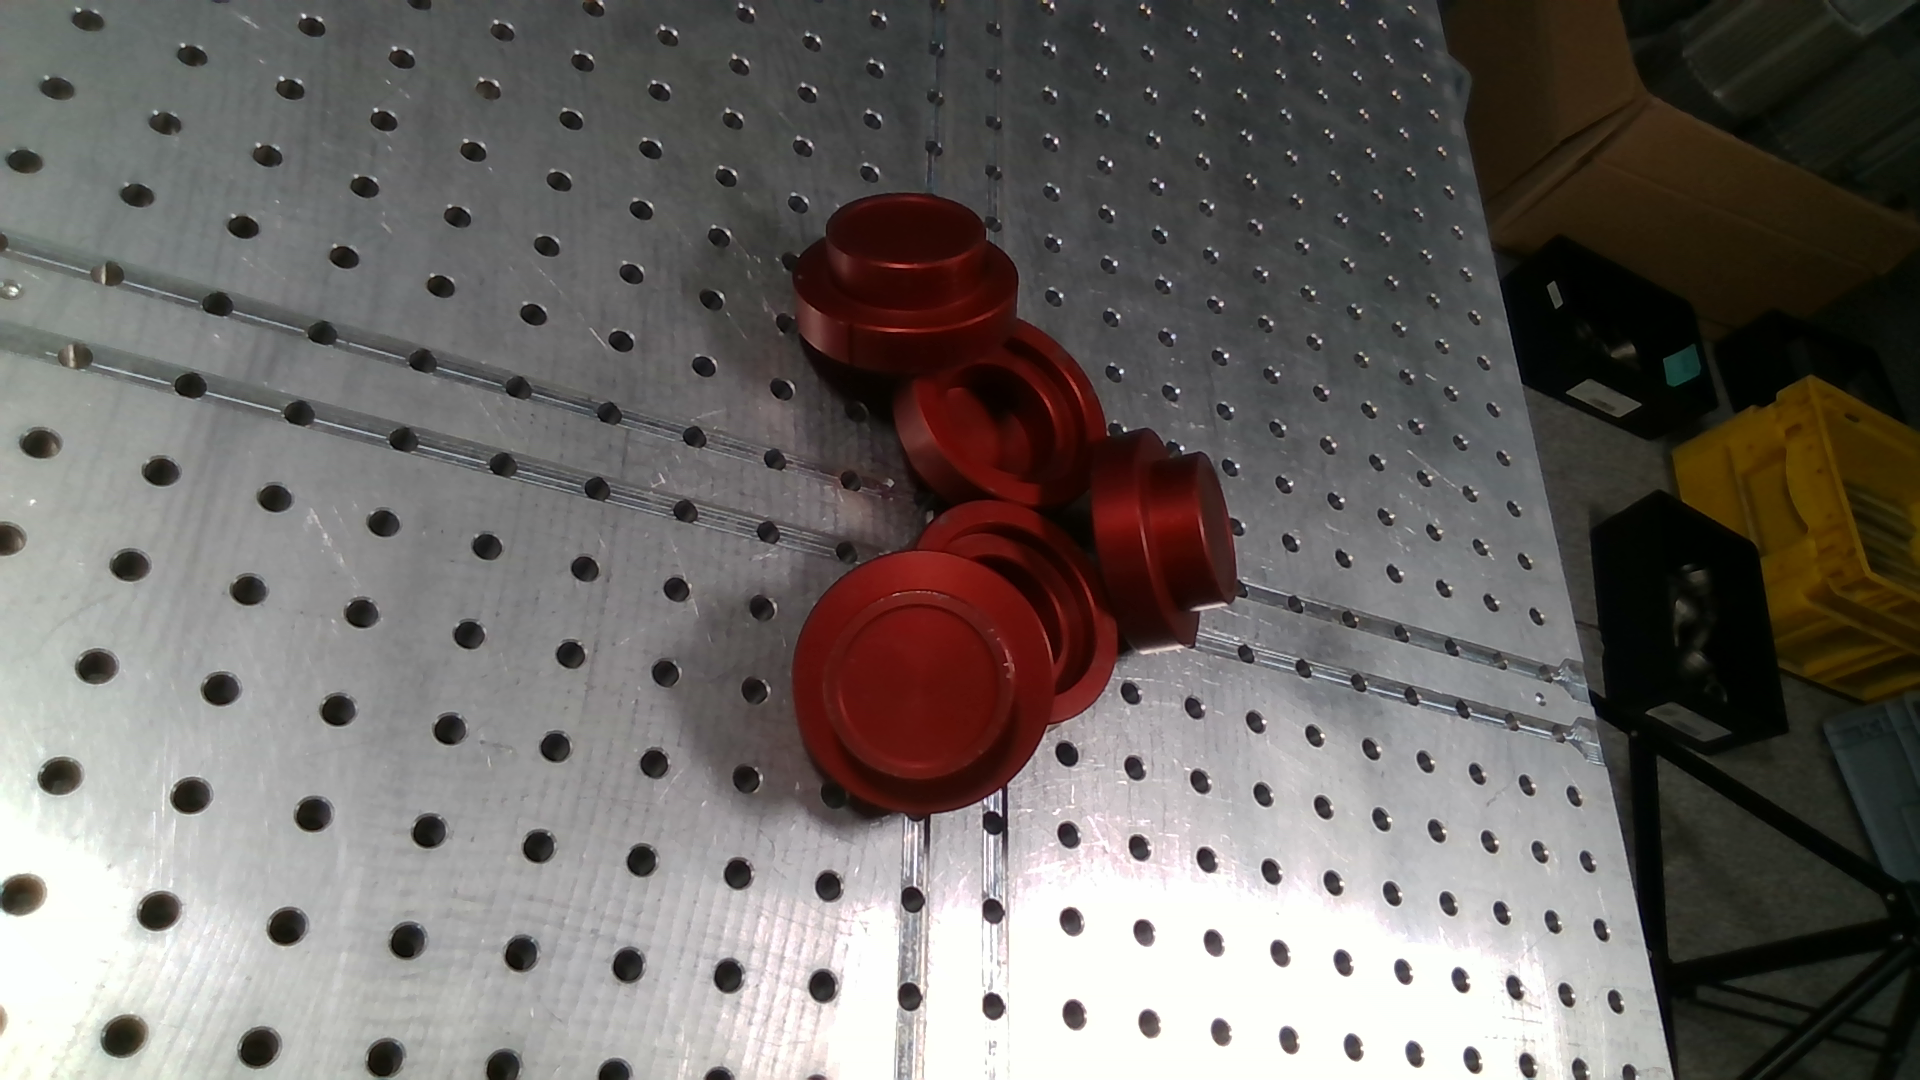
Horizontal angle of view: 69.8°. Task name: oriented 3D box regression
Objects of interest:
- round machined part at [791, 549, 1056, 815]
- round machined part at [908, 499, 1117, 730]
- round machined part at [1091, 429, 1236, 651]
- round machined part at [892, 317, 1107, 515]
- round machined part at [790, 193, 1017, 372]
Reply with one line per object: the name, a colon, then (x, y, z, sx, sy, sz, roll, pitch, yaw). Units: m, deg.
round machined part: (-0.014, 0.052, 0.507, 0.098, 0.042, 0.098, 0, 87, 1)
round machined part: (0.012, 0.036, 0.566, 0.098, 0.042, 0.098, 14, 59, -25)
round machined part: (0.093, -0.002, 0.603, 0.098, 0.042, 0.098, -11, 89, -69)
round machined part: (0.013, -0.050, 0.612, 0.098, 0.042, 0.098, 14, 59, -25)
round machined part: (-0.024, -0.116, 0.596, 0.098, 0.042, 0.098, 1, 39, -1)
